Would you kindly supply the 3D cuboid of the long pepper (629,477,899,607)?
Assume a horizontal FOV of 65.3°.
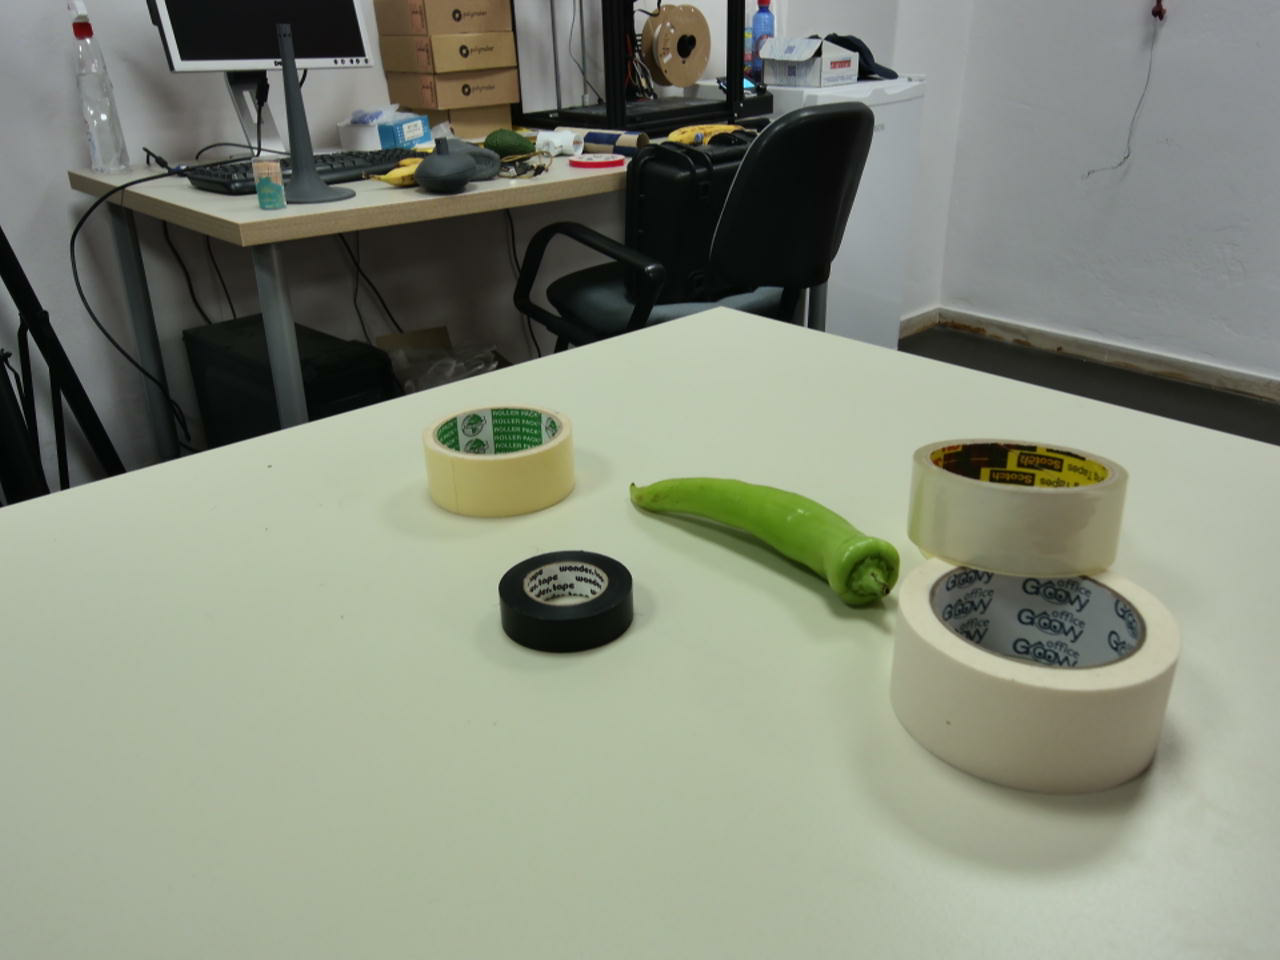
[{"bbox_3d":[0.065,0.021,0.547,0.046,0.038,0.197,-18,29,-35],"label":"long pepper"}]
